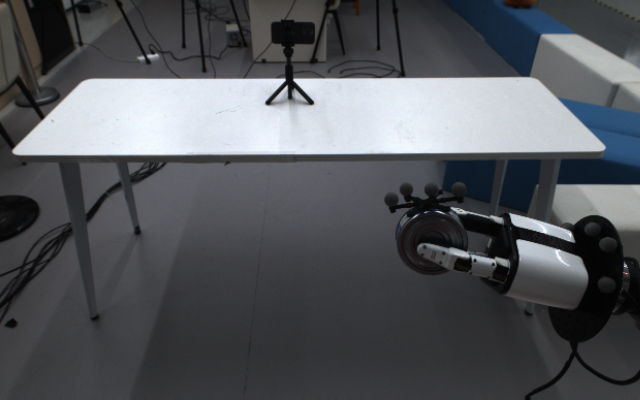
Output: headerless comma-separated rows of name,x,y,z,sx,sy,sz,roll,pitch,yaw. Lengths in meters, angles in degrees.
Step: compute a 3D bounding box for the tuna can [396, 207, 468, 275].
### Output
tuna can,0.141,0.055,0.594,0.085,0.085,0.034,6,18,5
